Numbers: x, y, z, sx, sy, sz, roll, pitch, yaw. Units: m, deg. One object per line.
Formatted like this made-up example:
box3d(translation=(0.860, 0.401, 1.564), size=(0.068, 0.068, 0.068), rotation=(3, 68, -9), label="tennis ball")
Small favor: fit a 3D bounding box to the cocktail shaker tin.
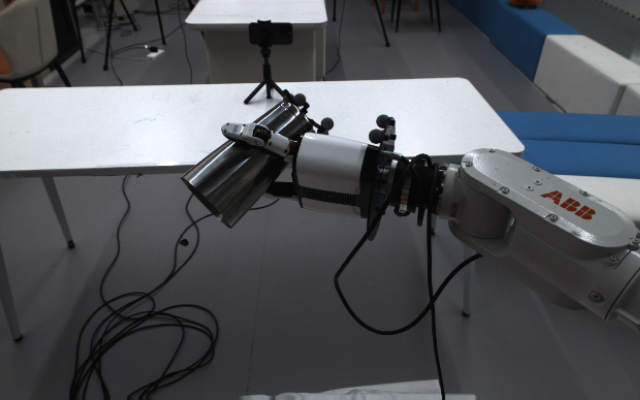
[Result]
box3d(translation=(-0.089, -0.057, 0.646), size=(0.170, 0.093, 0.093), rotation=(-43, 50, -14), label="cocktail shaker tin")
